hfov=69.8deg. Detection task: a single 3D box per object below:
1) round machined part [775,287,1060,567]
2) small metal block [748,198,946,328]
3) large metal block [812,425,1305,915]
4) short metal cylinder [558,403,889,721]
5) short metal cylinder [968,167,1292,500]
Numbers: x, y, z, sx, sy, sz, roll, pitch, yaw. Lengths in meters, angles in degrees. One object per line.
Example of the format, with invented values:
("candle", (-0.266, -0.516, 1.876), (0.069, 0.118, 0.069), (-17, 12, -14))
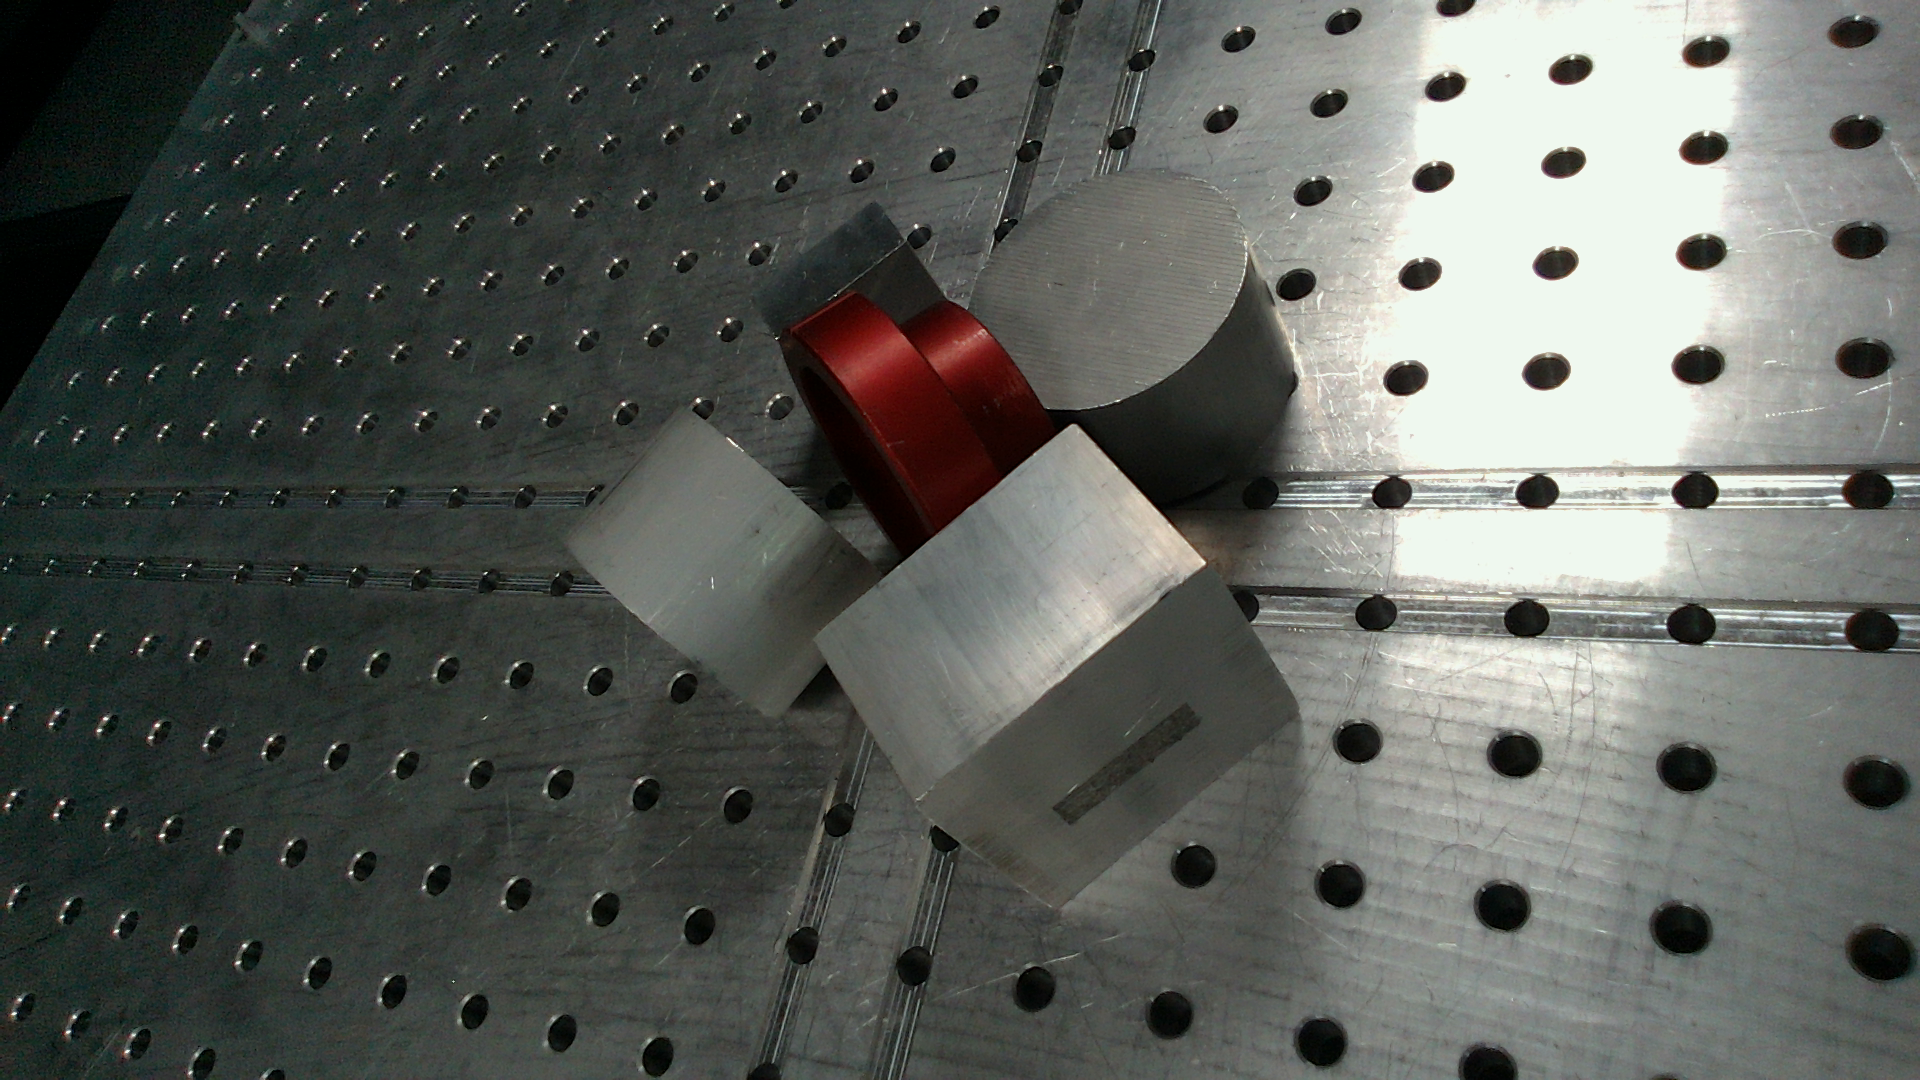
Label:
("round machined part", (-0.005, -0.025, 0.369), (0.042, 0.098, 0.098), (-34, 50, -9))
("small metal block", (-0.031, -0.072, 0.441), (0.050, 0.050, 0.025), (-37, 51, 4))
("large metal block", (0.026, 0.034, 0.327), (0.080, 0.080, 0.050), (-40, 51, 1))
("short metal cylinder", (-0.066, 0.006, 0.393), (0.050, 0.080, 0.080), (-49, 51, -6))
("short metal cylinder", (0.048, -0.057, 0.389), (0.080, 0.050, 0.080), (-14, 56, 21))
